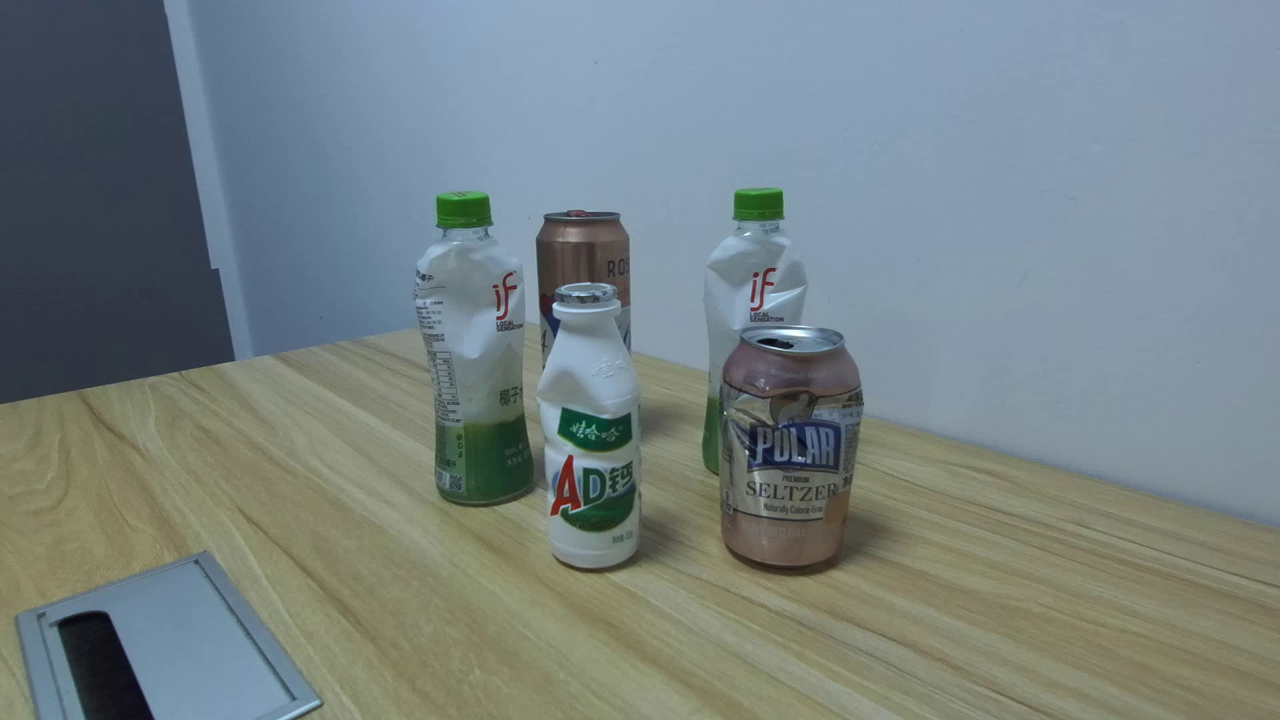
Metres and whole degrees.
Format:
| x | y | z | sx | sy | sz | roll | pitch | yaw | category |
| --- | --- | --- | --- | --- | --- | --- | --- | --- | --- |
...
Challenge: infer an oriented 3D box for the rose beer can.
| x | y | z | sx | sy | sz | roll | pitch | yaw | category |
| --- | --- | --- | --- | --- | --- | --- | --- | --- | --- |
| -0.038 | -0.022 | 0.524 | 0.068 | 0.169 | 0.068 | -1 | 9 | 1 | rose beer can |

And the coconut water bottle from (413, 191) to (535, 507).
| x | y | z | sx | sy | sz | roll | pitch | yaw | category |
| --- | --- | --- | --- | --- | --- | --- | --- | --- | --- |
| -0.102 | -0.007 | 0.442 | 0.069 | 0.187 | 0.069 | 1 | 15 | 0 | coconut water bottle |

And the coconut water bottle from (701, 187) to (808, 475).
| x | y | z | sx | sy | sz | roll | pitch | yaw | category |
| --- | --- | --- | --- | --- | --- | --- | --- | --- | --- |
| 0.073 | -0.016 | 0.466 | 0.067 | 0.187 | 0.067 | 0 | 15 | 0 | coconut water bottle |
